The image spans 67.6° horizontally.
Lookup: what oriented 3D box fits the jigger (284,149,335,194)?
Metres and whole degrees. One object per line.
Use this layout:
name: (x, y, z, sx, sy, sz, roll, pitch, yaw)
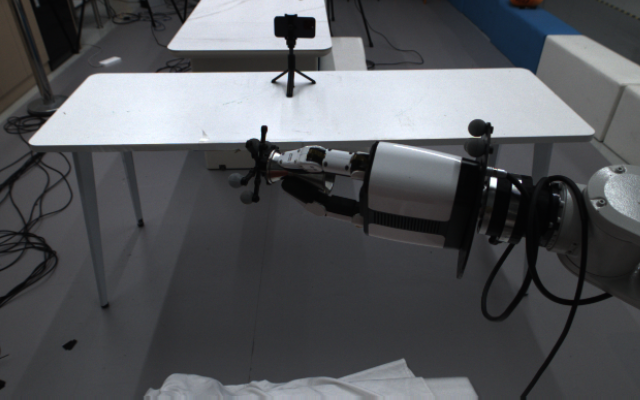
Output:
jigger: (-0.014, -0.037, 0.539, 0.071, 0.043, 0.043, 9, 35, 16)
